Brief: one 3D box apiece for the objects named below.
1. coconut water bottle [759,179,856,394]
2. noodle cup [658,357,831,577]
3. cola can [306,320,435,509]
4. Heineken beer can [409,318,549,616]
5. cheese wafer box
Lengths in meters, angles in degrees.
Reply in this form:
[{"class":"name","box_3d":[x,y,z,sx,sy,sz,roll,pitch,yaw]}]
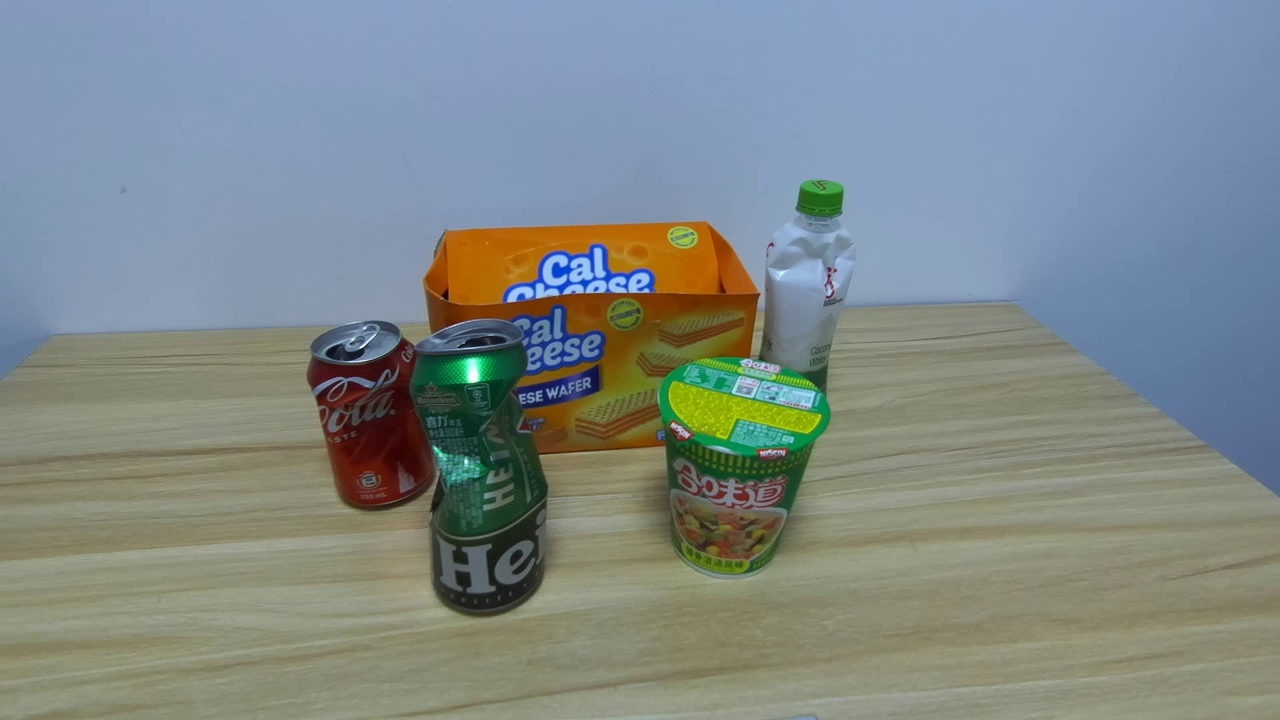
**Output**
[{"class":"coconut water bottle","box_3d":[0.122,-0.041,0.533,0.069,0.186,0.069,0,33,0]},{"class":"noodle cup","box_3d":[0.054,0.068,0.426,0.097,0.110,0.097,2,33,-1]},{"class":"cola can","box_3d":[-0.174,0.035,0.462,0.066,0.117,0.066,-7,31,-15]},{"class":"Heineken beer can","box_3d":[-0.086,0.061,0.388,0.067,0.159,0.078,-14,27,-31]},{"class":"cheese wafer box","box_3d":[-0.040,-0.019,0.553,0.231,0.132,0.152,-3,32,-8]}]
